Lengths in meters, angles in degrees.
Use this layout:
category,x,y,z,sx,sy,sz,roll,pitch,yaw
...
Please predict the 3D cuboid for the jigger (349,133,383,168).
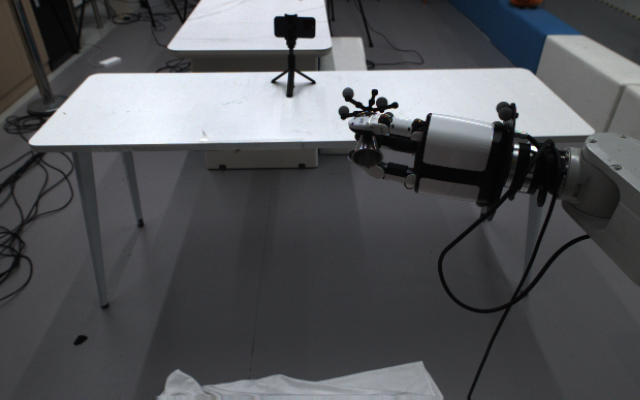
category,x,y,z,sx,sy,sz,roll,pitch,yaw
jigger,0.067,-0.091,0.689,0.043,0.043,0.071,4,61,2
